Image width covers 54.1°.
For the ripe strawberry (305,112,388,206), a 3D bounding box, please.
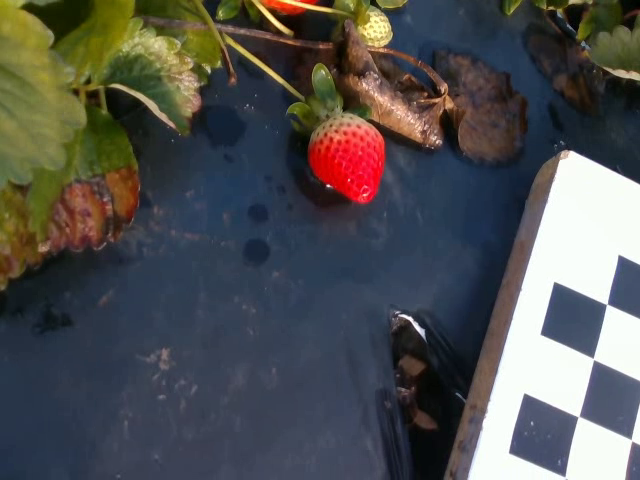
[{"bbox_3d":[0.012,-0.032,0.247,0.035,0.043,0.029,-11,-17,-17],"label":"ripe strawberry"}]
